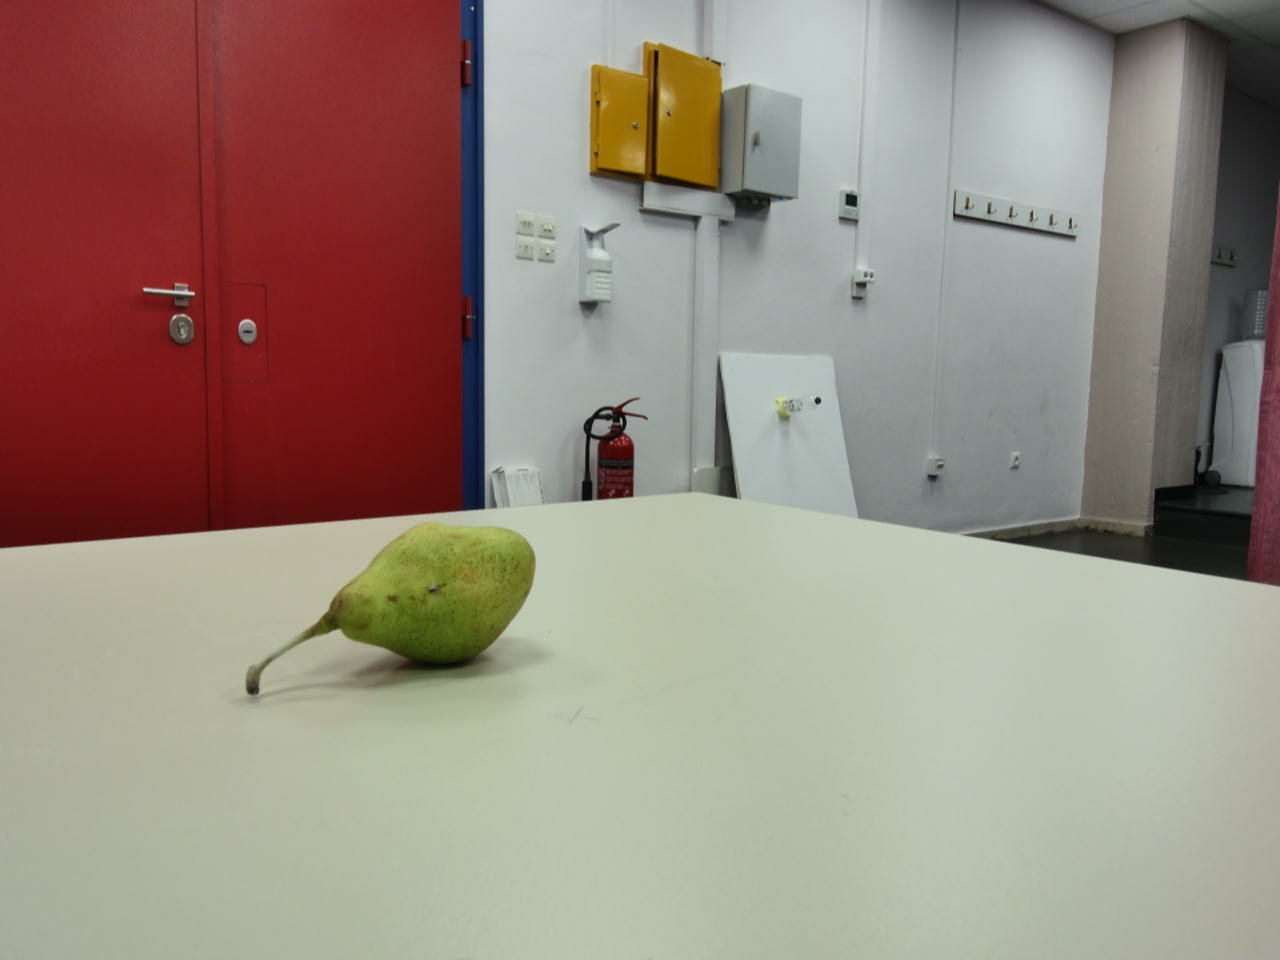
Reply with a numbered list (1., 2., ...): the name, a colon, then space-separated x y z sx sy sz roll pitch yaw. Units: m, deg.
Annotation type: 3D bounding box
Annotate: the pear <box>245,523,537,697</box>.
1. pear: -0.096 0.046 0.393 0.111 0.056 0.056 -2 4 -23
